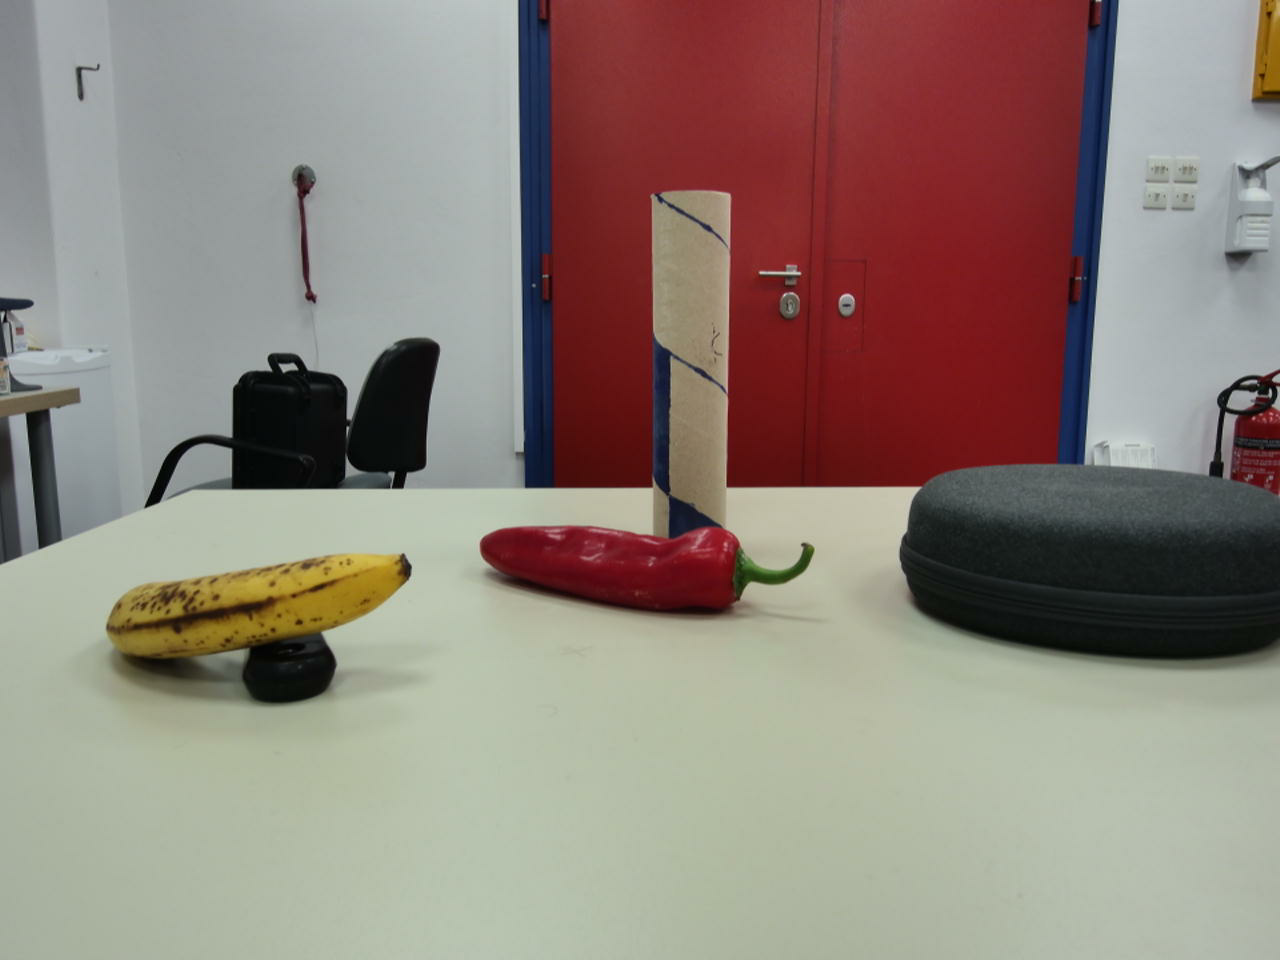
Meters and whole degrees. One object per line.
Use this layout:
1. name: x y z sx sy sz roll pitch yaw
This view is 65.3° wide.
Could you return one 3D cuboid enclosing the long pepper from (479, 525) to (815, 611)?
1. long pepper: -0.010 0.043 0.541 0.211 0.043 0.050 4 8 31
